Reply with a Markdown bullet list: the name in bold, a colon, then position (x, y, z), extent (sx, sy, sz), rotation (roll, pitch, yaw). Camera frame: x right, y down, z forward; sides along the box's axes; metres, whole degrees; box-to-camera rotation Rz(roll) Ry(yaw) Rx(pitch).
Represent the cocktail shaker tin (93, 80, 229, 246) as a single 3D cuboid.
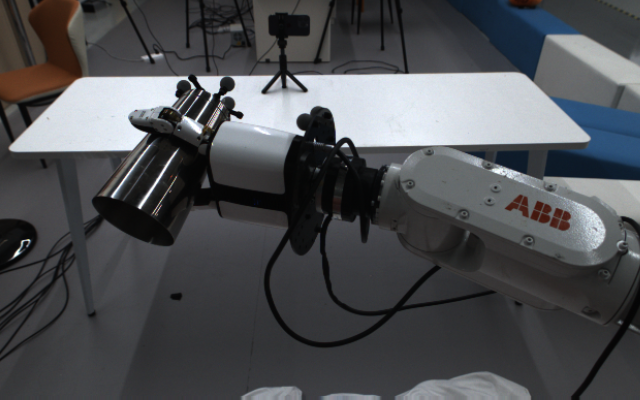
- **cocktail shaker tin**: position (-0.168, -0.044, 0.546), extent (0.093, 0.093, 0.170), rotation (13, 58, 16)
